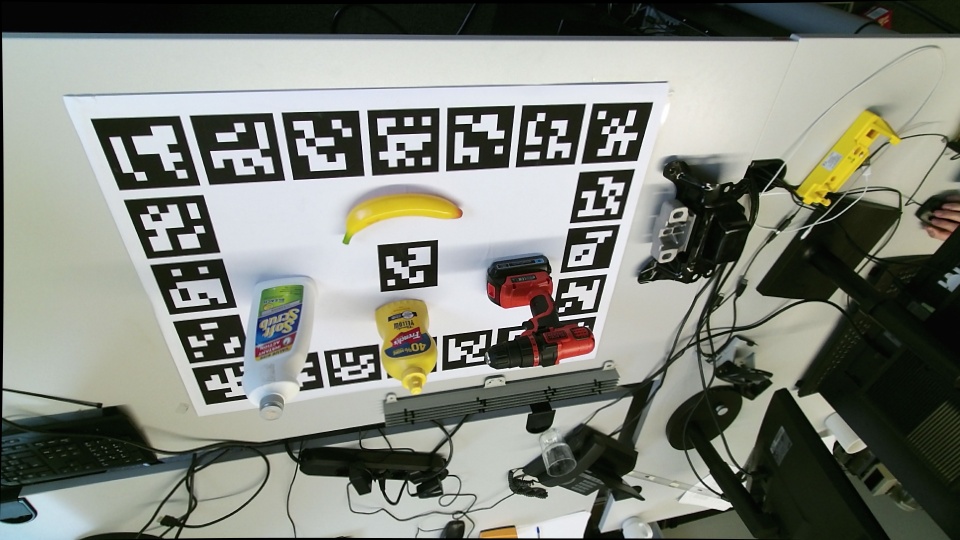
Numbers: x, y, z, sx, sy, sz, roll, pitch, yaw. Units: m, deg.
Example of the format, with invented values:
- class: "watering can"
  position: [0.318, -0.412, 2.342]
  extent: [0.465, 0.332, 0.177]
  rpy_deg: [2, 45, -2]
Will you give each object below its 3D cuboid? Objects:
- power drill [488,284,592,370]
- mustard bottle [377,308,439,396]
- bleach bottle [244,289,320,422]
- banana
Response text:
- class: "power drill"
  position: [0.072, 0.107, 0.914]
  extent: [0.185, 0.186, 0.057]
  rpy_deg: [-12, 127, -13]
- class: "mustard bottle"
  position: [-0.122, 0.145, 0.922]
  extent: [0.096, 0.190, 0.058]
  rpy_deg: [-11, 127, -7]
- class: "bleach bottle"
  position: [-0.297, 0.128, 0.816]
  extent: [0.103, 0.249, 0.068]
  rpy_deg: [2, 124, -18]
- class: "banana"
  position: [-0.122, -0.067, 0.851]
  extent: [0.198, 0.038, 0.074]
  rpy_deg: [-11, 125, -12]
